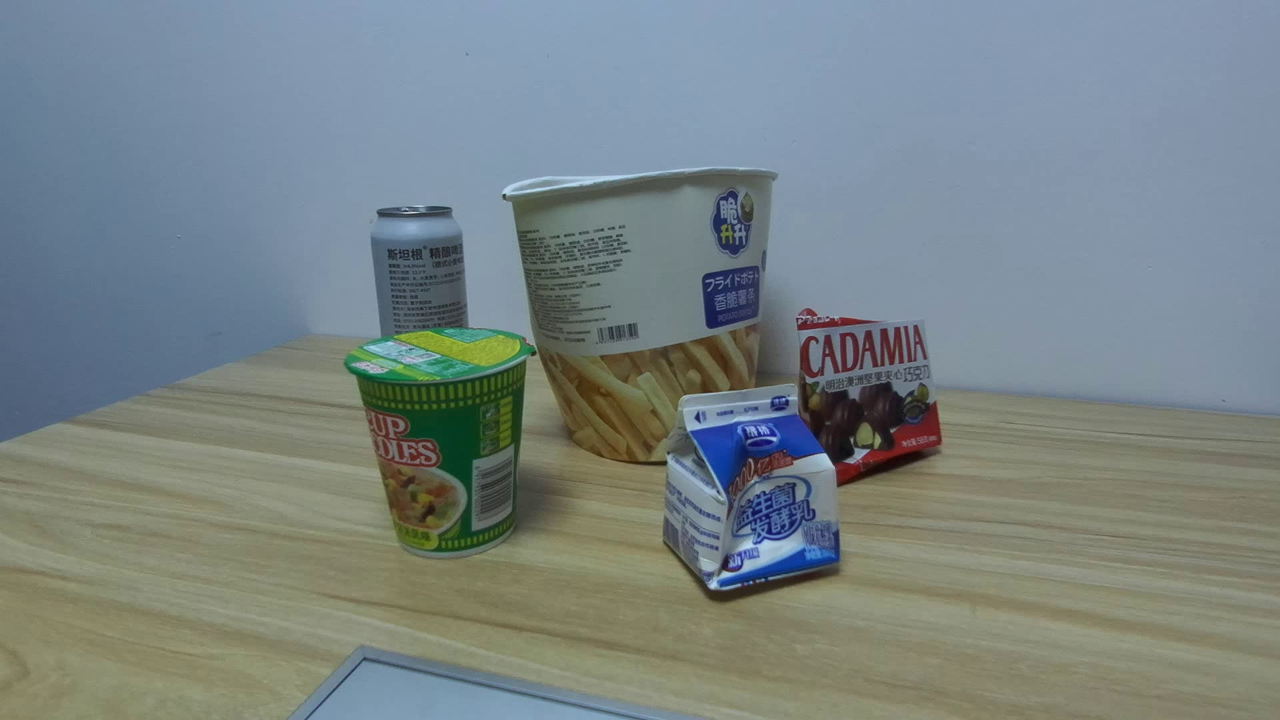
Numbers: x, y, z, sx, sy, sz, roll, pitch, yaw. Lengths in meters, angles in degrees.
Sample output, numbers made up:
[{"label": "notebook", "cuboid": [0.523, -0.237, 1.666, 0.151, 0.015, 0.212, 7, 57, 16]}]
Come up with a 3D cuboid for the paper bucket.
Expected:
[{"label": "paper bucket", "cuboid": [0.013, -0.041, 0.529, 0.147, 0.199, 0.218, 6, 18, 19]}]

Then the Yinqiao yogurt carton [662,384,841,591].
[{"label": "Yinqiao yogurt carton", "cuboid": [0.055, 0.061, 0.376, 0.078, 0.094, 0.071, -6, 12, -20]}]

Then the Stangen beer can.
[{"label": "Stangen beer can", "cuboid": [-0.167, -0.031, 0.548, 0.067, 0.171, 0.067, 0, 17, 0]}]

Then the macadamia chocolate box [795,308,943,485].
[{"label": "macadamia chocolate box", "cuboid": [0.154, 0.018, 0.488, 0.127, 0.112, 0.056, -9, 18, -27]}]

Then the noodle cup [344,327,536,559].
[{"label": "noodle cup", "cuboid": [-0.106, 0.047, 0.398, 0.097, 0.110, 0.097, -1, 16, 0]}]
